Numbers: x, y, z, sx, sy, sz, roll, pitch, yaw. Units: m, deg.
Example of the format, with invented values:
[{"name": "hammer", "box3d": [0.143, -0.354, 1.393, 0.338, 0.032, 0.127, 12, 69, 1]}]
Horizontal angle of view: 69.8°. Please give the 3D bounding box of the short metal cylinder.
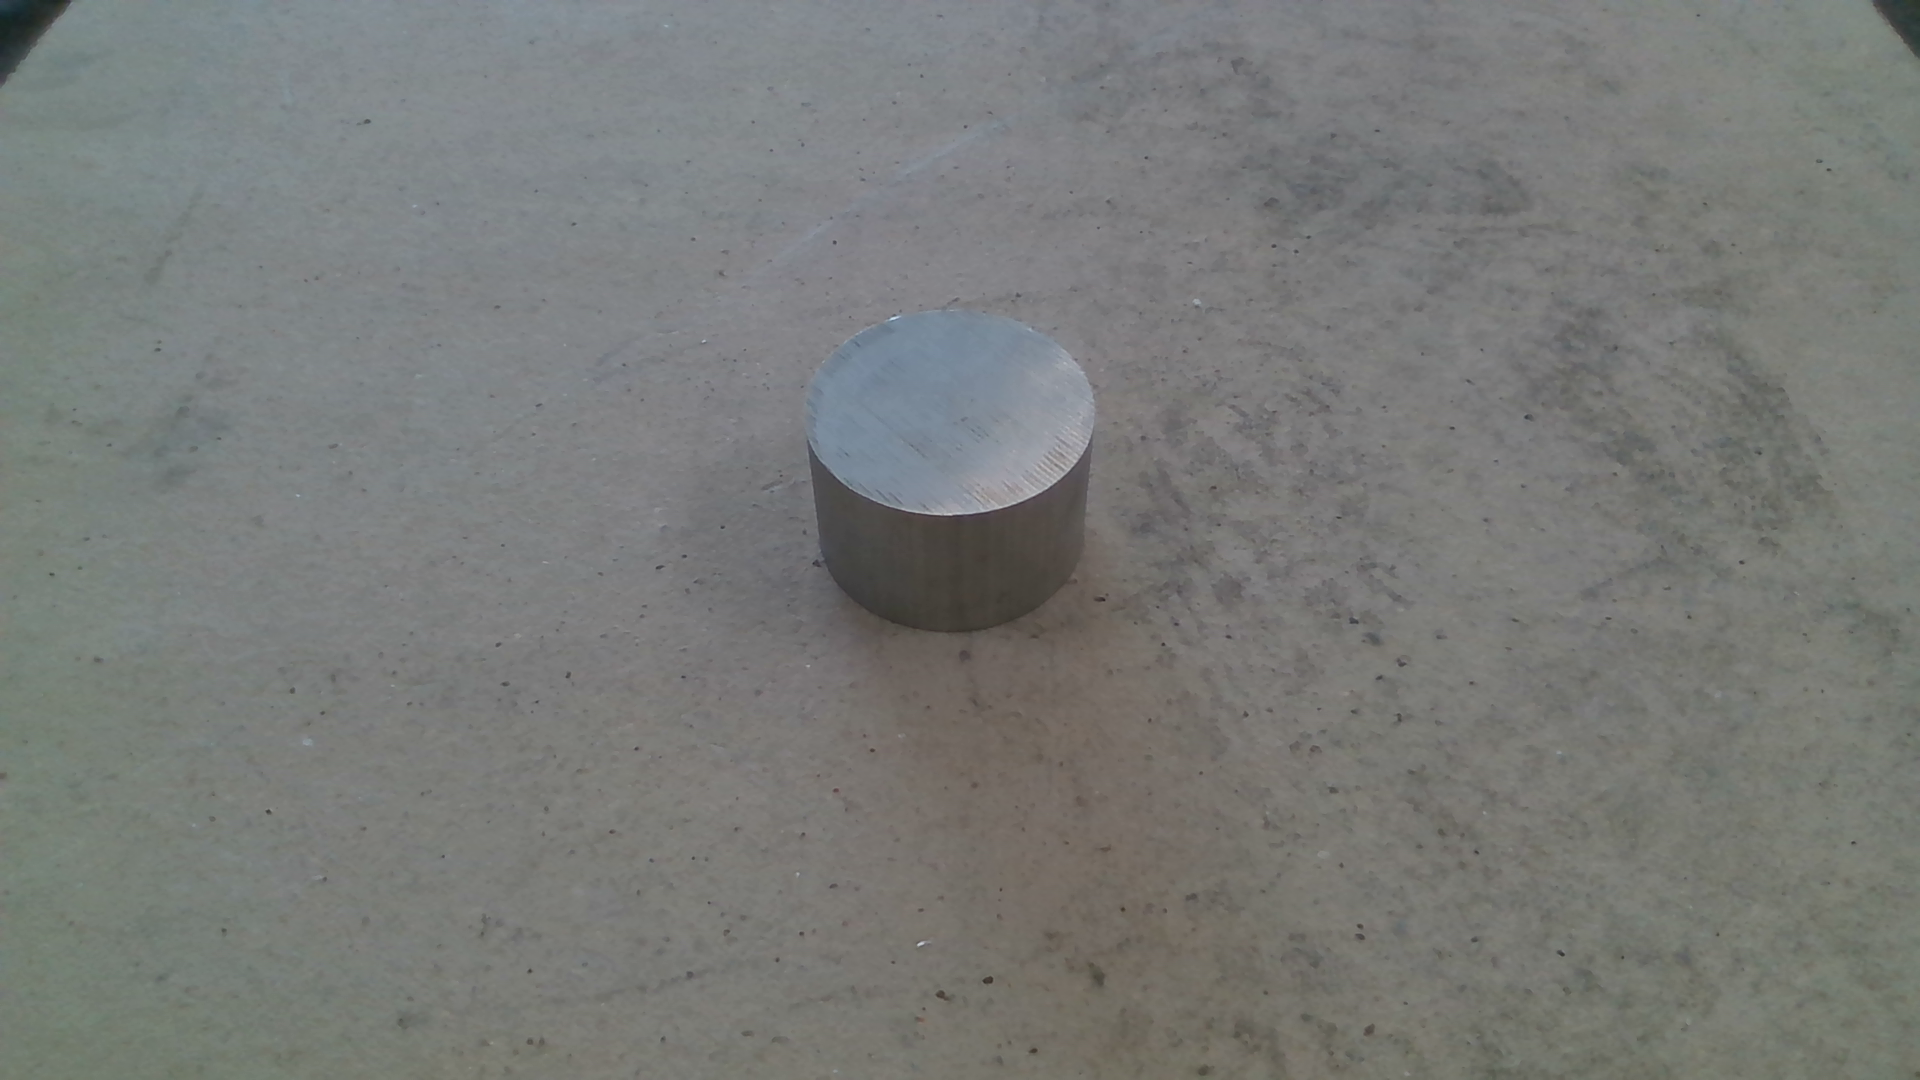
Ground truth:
[{"name": "short metal cylinder", "box3d": [-0.003, -0.021, 0.395, 0.080, 0.050, 0.080, 0, 51, 0]}]
